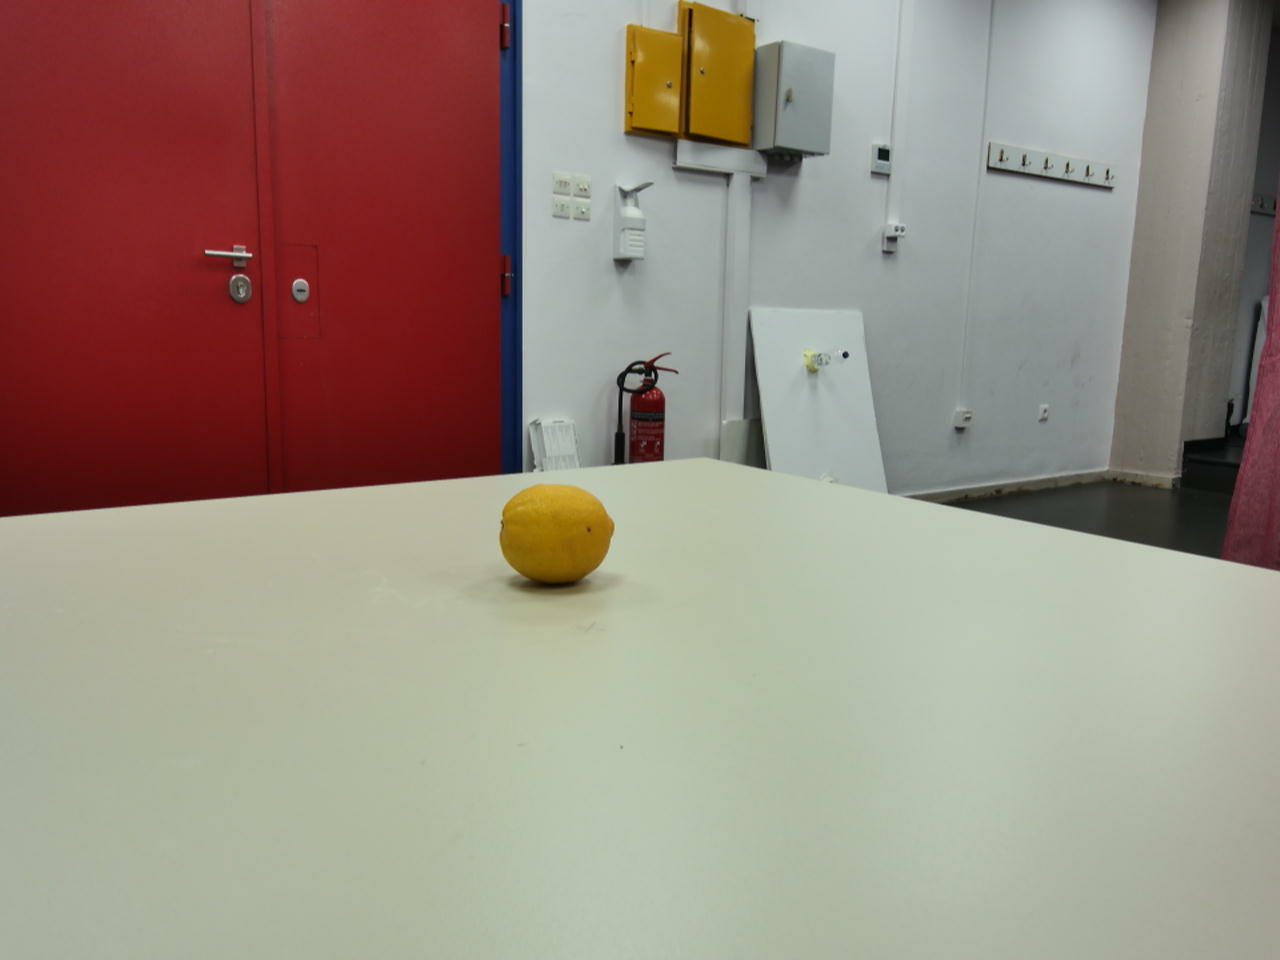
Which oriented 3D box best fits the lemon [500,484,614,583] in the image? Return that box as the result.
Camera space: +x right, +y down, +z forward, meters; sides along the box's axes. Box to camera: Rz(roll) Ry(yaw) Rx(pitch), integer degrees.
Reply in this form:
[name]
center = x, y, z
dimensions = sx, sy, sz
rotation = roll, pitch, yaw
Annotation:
[lemon]
center = -0.051, 0.032, 0.600
dimensions = 0.067, 0.059, 0.061
rotation = 2, 8, 6
